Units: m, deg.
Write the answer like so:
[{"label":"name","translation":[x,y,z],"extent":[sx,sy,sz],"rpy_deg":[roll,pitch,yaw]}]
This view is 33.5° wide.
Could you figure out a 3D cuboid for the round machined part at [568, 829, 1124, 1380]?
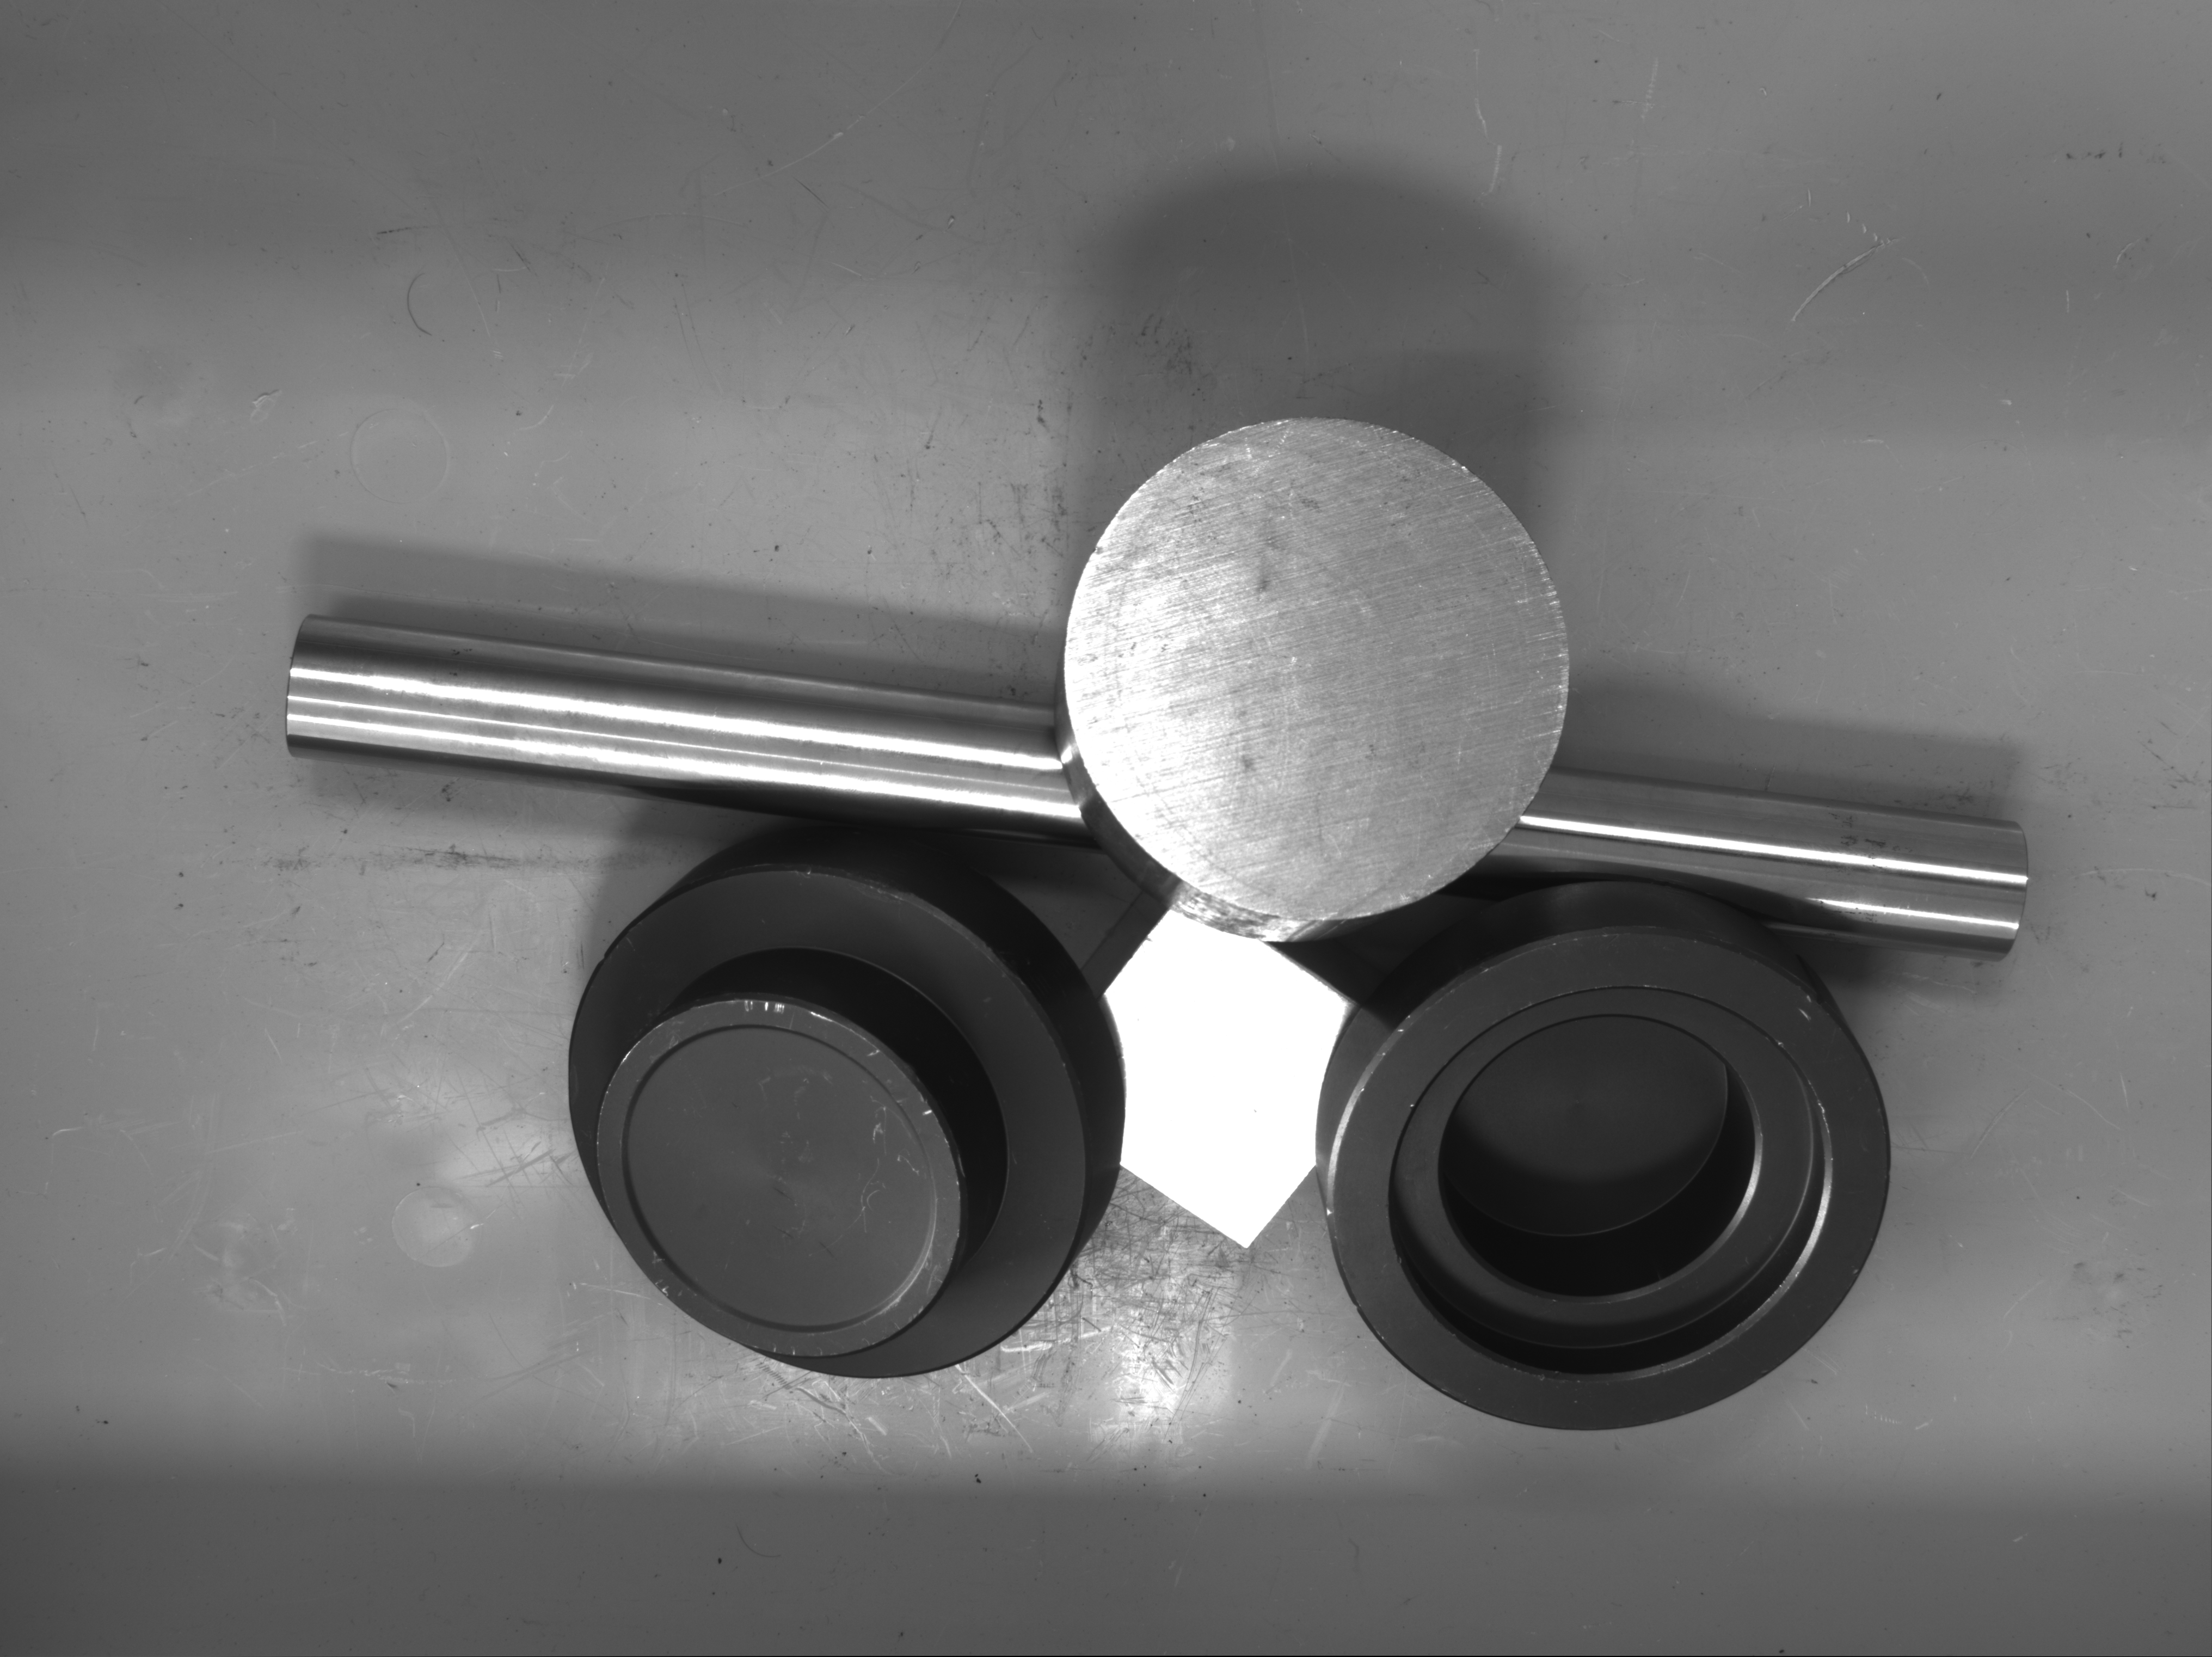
[{"label":"round machined part","translation":[-0.049,0.053,0.639],"extent":[0.098,0.042,0.098],"rpy_deg":[7,112,17]}]

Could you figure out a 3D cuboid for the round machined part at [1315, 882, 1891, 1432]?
[{"label":"round machined part","translation":[0.086,0.054,0.651],"extent":[0.098,0.042,0.098],"rpy_deg":[-1,112,-3]}]

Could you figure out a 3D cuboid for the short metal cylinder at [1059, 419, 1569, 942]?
[{"label":"short metal cylinder","translation":[0.032,-0.023,0.605],"extent":[0.080,0.050,0.080],"rpy_deg":[0,84,-3]}]

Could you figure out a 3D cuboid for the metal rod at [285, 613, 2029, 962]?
[{"label":"metal rod","translation":[0.010,-0.007,0.640],"extent":[0.300,0.025,0.025],"rpy_deg":[7,110,-3]}]

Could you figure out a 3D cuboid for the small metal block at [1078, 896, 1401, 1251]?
[{"label":"small metal block","translation":[0.020,0.039,0.657],"extent":[0.050,0.025,0.050],"rpy_deg":[35,106,-12]}]
